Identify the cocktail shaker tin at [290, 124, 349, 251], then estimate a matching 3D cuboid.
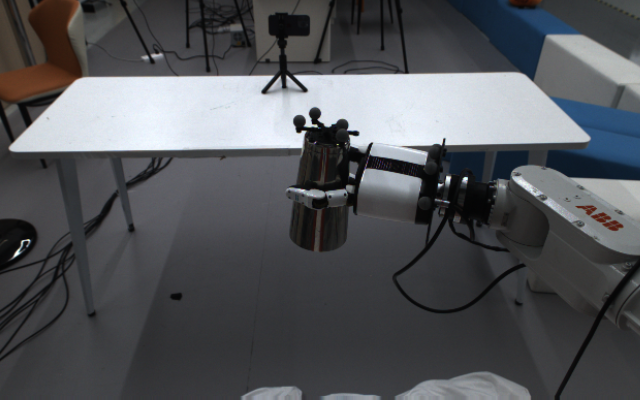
[{"bbox_3d":[0.004,-0.019,0.723,0.093,0.170,0.093,3,32,-2],"label":"cocktail shaker tin"}]
